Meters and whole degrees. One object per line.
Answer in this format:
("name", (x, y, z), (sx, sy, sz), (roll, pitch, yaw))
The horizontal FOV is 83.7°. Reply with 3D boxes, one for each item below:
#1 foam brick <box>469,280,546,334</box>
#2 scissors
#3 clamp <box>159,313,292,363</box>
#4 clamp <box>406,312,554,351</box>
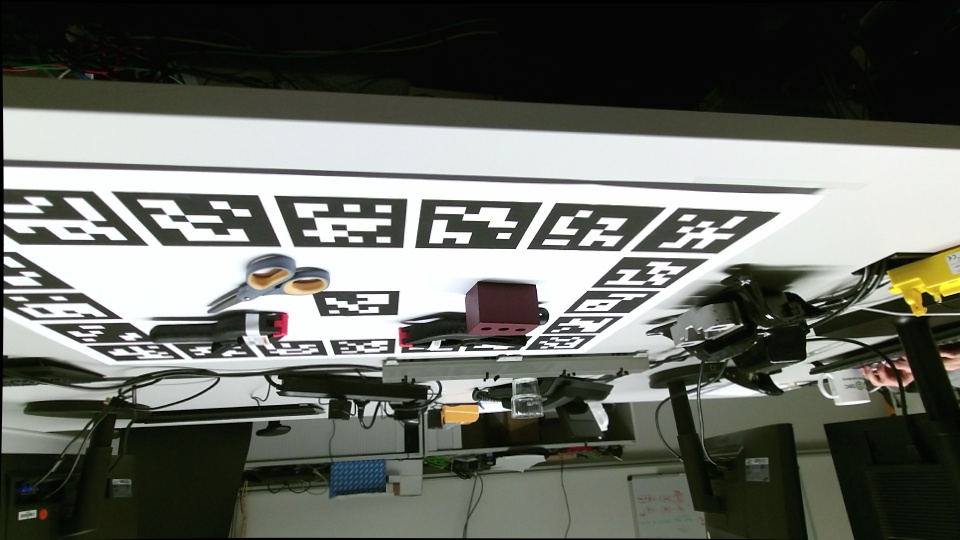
("foam brick", (0.033, 0.045, 0.668), (0.078, 0.051, 0.053), (-1, 155, -19))
("scissors", (-0.242, 0.027, 0.606), (0.203, 0.016, 0.088), (-21, 144, 36))
("clamp", (-0.327, 0.089, 0.725), (0.165, 0.036, 0.122), (-12, 148, 15))
("clamp", (-0.006, 0.097, 0.789), (0.203, 0.036, 0.165), (-1, 159, -6))
